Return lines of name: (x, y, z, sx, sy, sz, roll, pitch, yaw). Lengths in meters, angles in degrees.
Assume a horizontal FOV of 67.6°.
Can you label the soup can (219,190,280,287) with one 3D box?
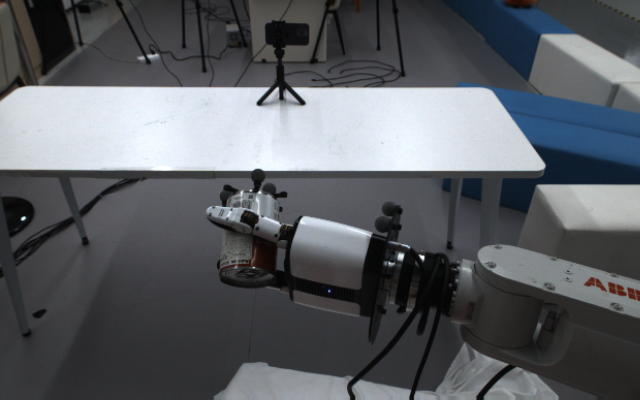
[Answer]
soup can: (-0.081, 0.047, 0.582, 0.067, 0.067, 0.101, 0, 61, -3)
